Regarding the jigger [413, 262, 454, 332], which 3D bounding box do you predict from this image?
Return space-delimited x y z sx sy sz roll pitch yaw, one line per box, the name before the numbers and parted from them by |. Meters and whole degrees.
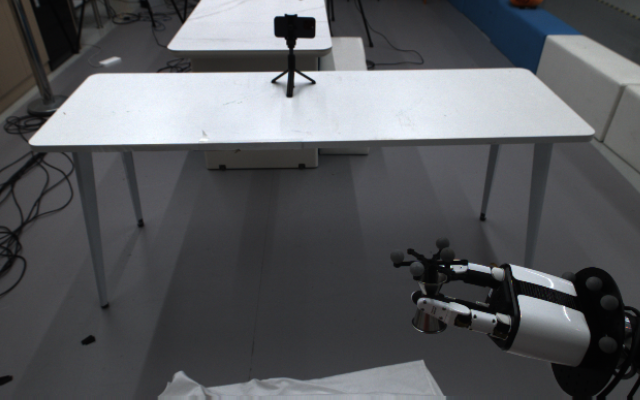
jigger | 0.136 0.124 0.602 0.043 0.071 0.043 -2 19 1
